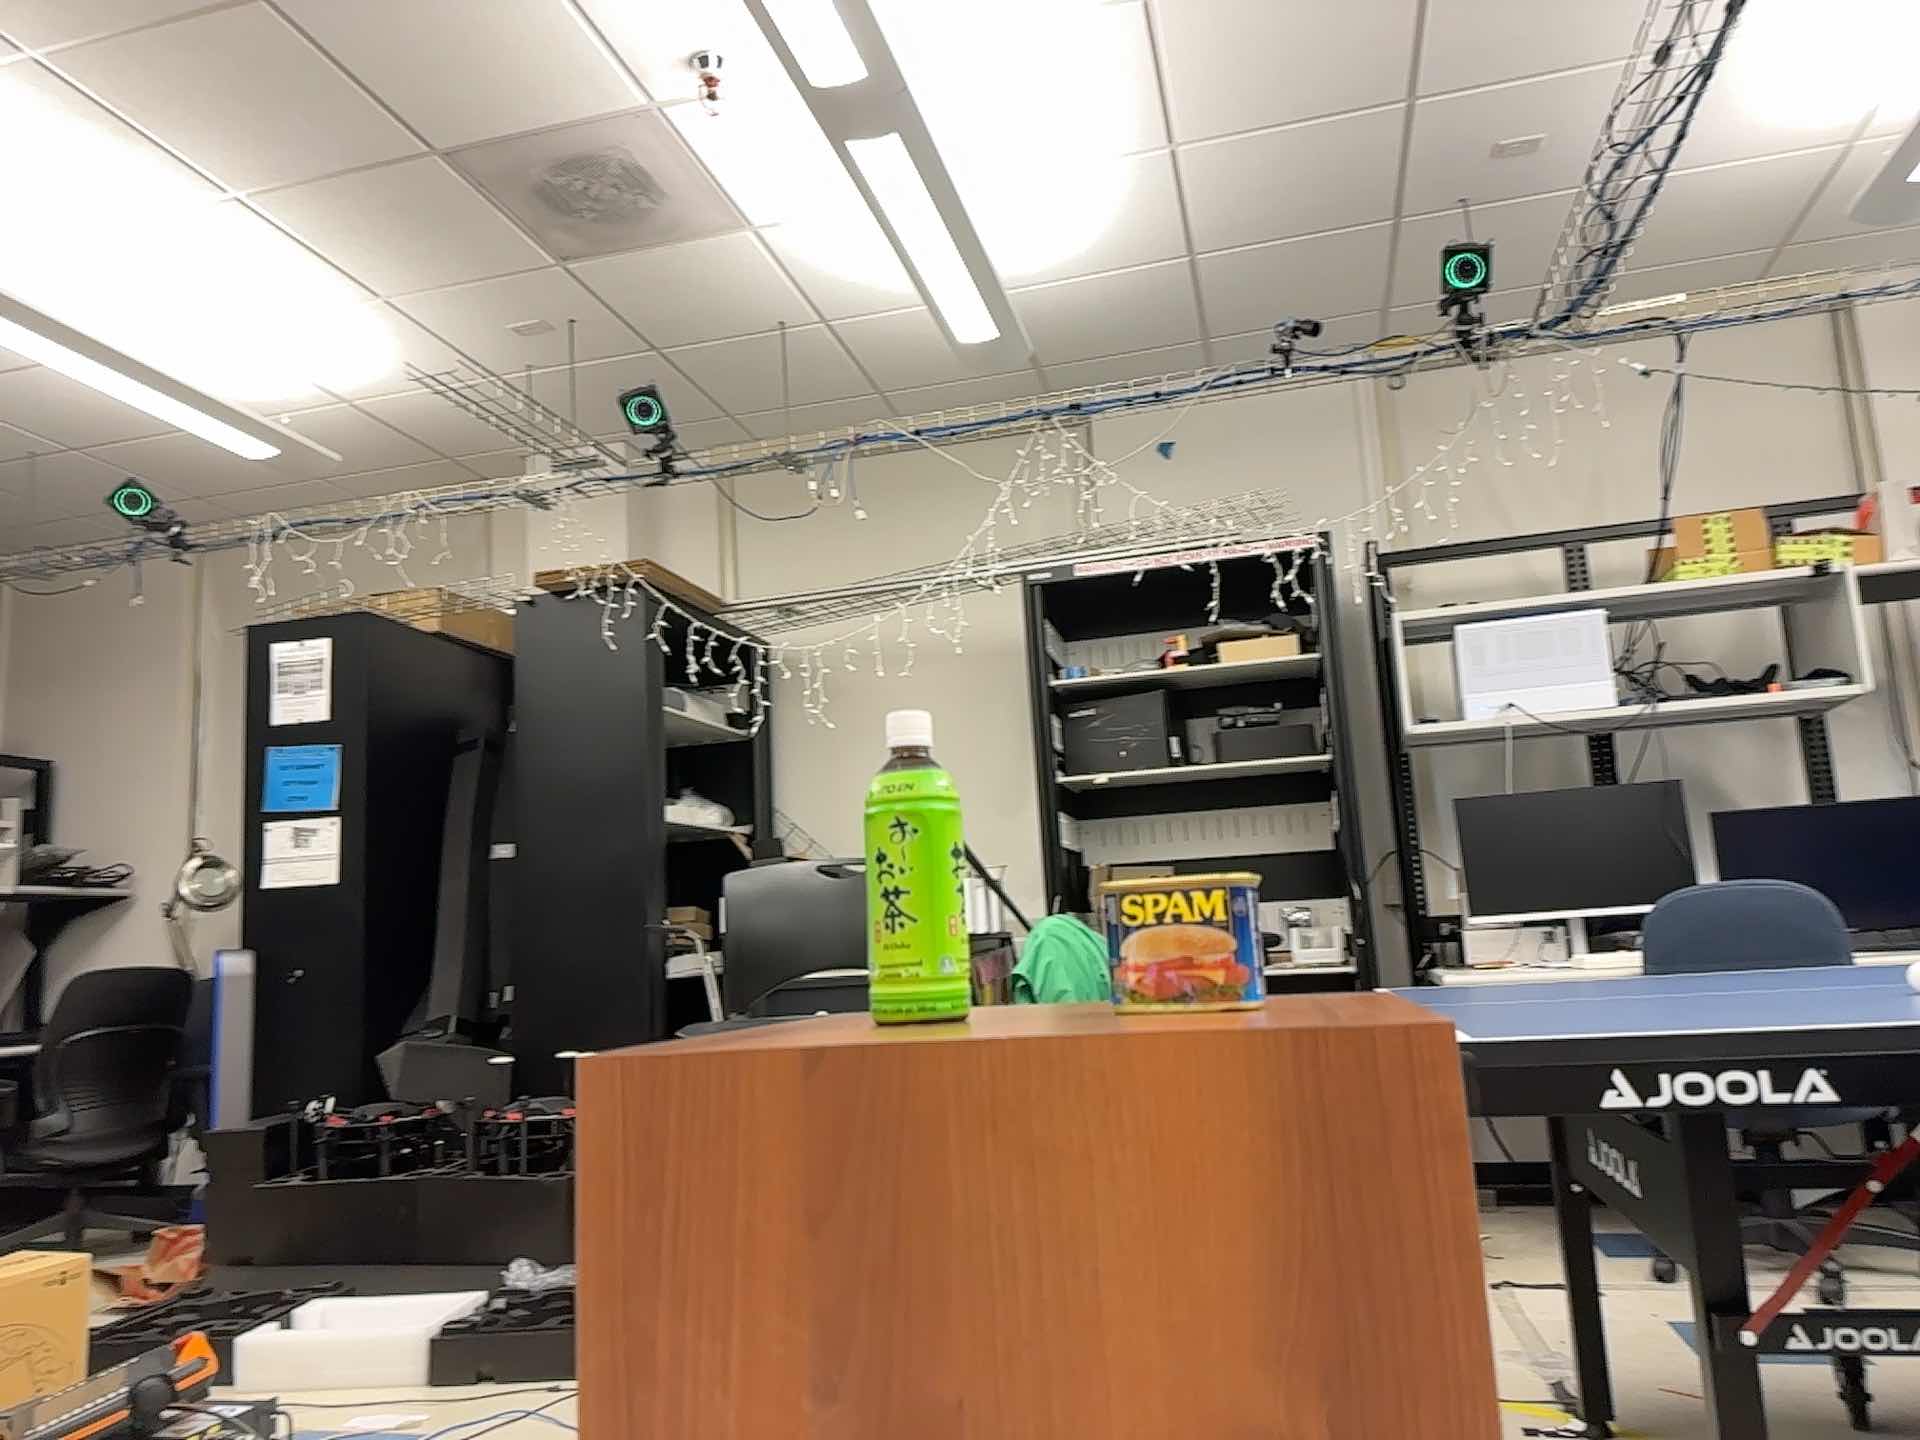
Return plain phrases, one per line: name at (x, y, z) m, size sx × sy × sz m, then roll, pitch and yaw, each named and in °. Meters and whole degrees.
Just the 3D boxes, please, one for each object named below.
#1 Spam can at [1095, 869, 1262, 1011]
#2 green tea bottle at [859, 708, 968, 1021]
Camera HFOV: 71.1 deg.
Spam can at (0.144, 0.145, 0.886) m, size 0.100 × 0.083 × 0.056 m, roll -8°, pitch -13°, yaw 22°
green tea bottle at (-0.035, 0.097, 0.923) m, size 0.073 × 0.212 × 0.073 m, roll -4°, pitch -13°, yaw -1°
